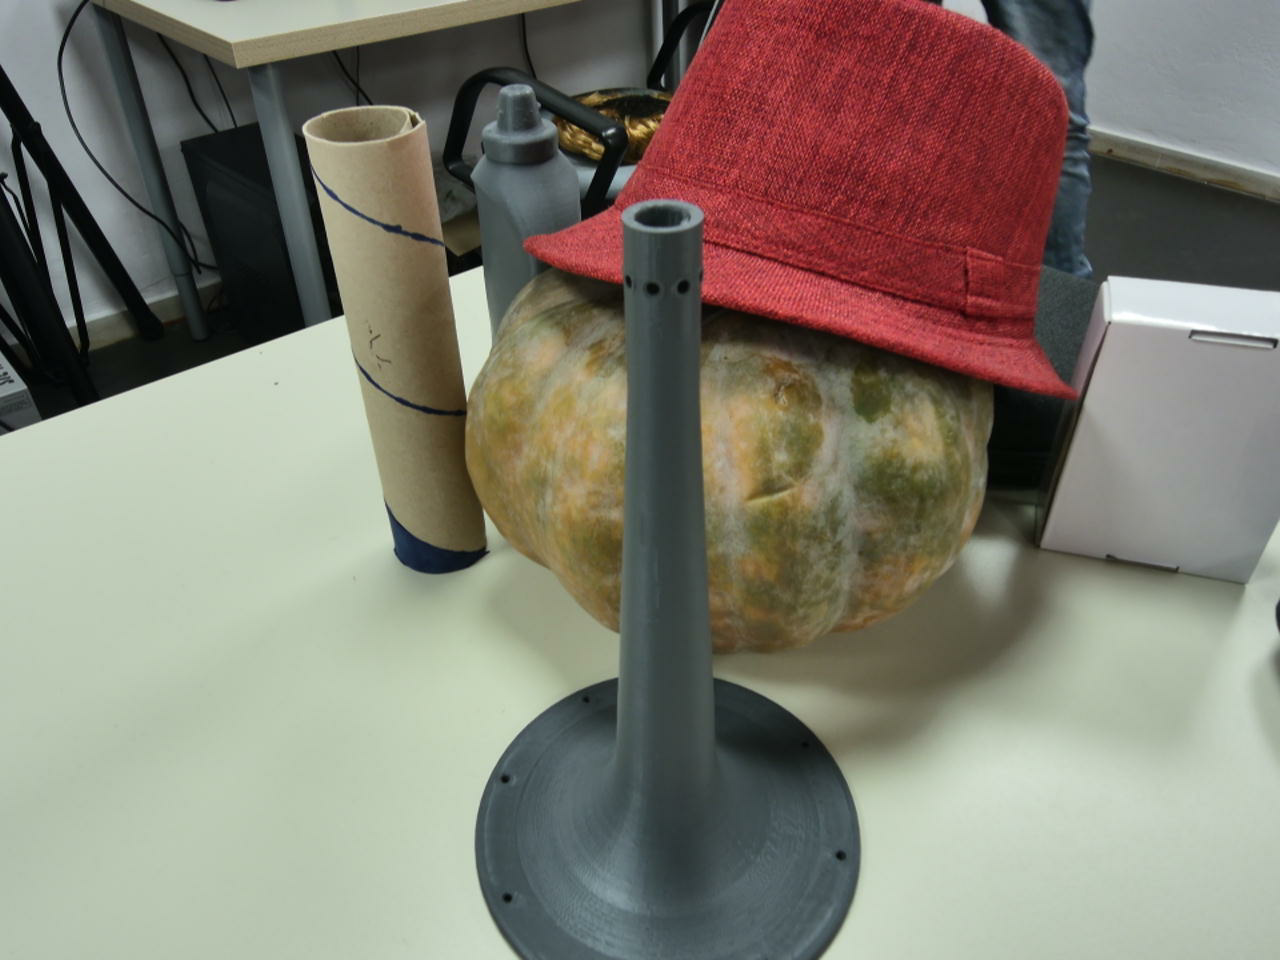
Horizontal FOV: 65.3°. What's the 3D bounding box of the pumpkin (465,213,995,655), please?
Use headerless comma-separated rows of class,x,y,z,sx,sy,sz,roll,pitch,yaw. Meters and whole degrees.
pumpkin,0.041,-0.030,0.475,0.252,0.169,0.251,0,36,0
